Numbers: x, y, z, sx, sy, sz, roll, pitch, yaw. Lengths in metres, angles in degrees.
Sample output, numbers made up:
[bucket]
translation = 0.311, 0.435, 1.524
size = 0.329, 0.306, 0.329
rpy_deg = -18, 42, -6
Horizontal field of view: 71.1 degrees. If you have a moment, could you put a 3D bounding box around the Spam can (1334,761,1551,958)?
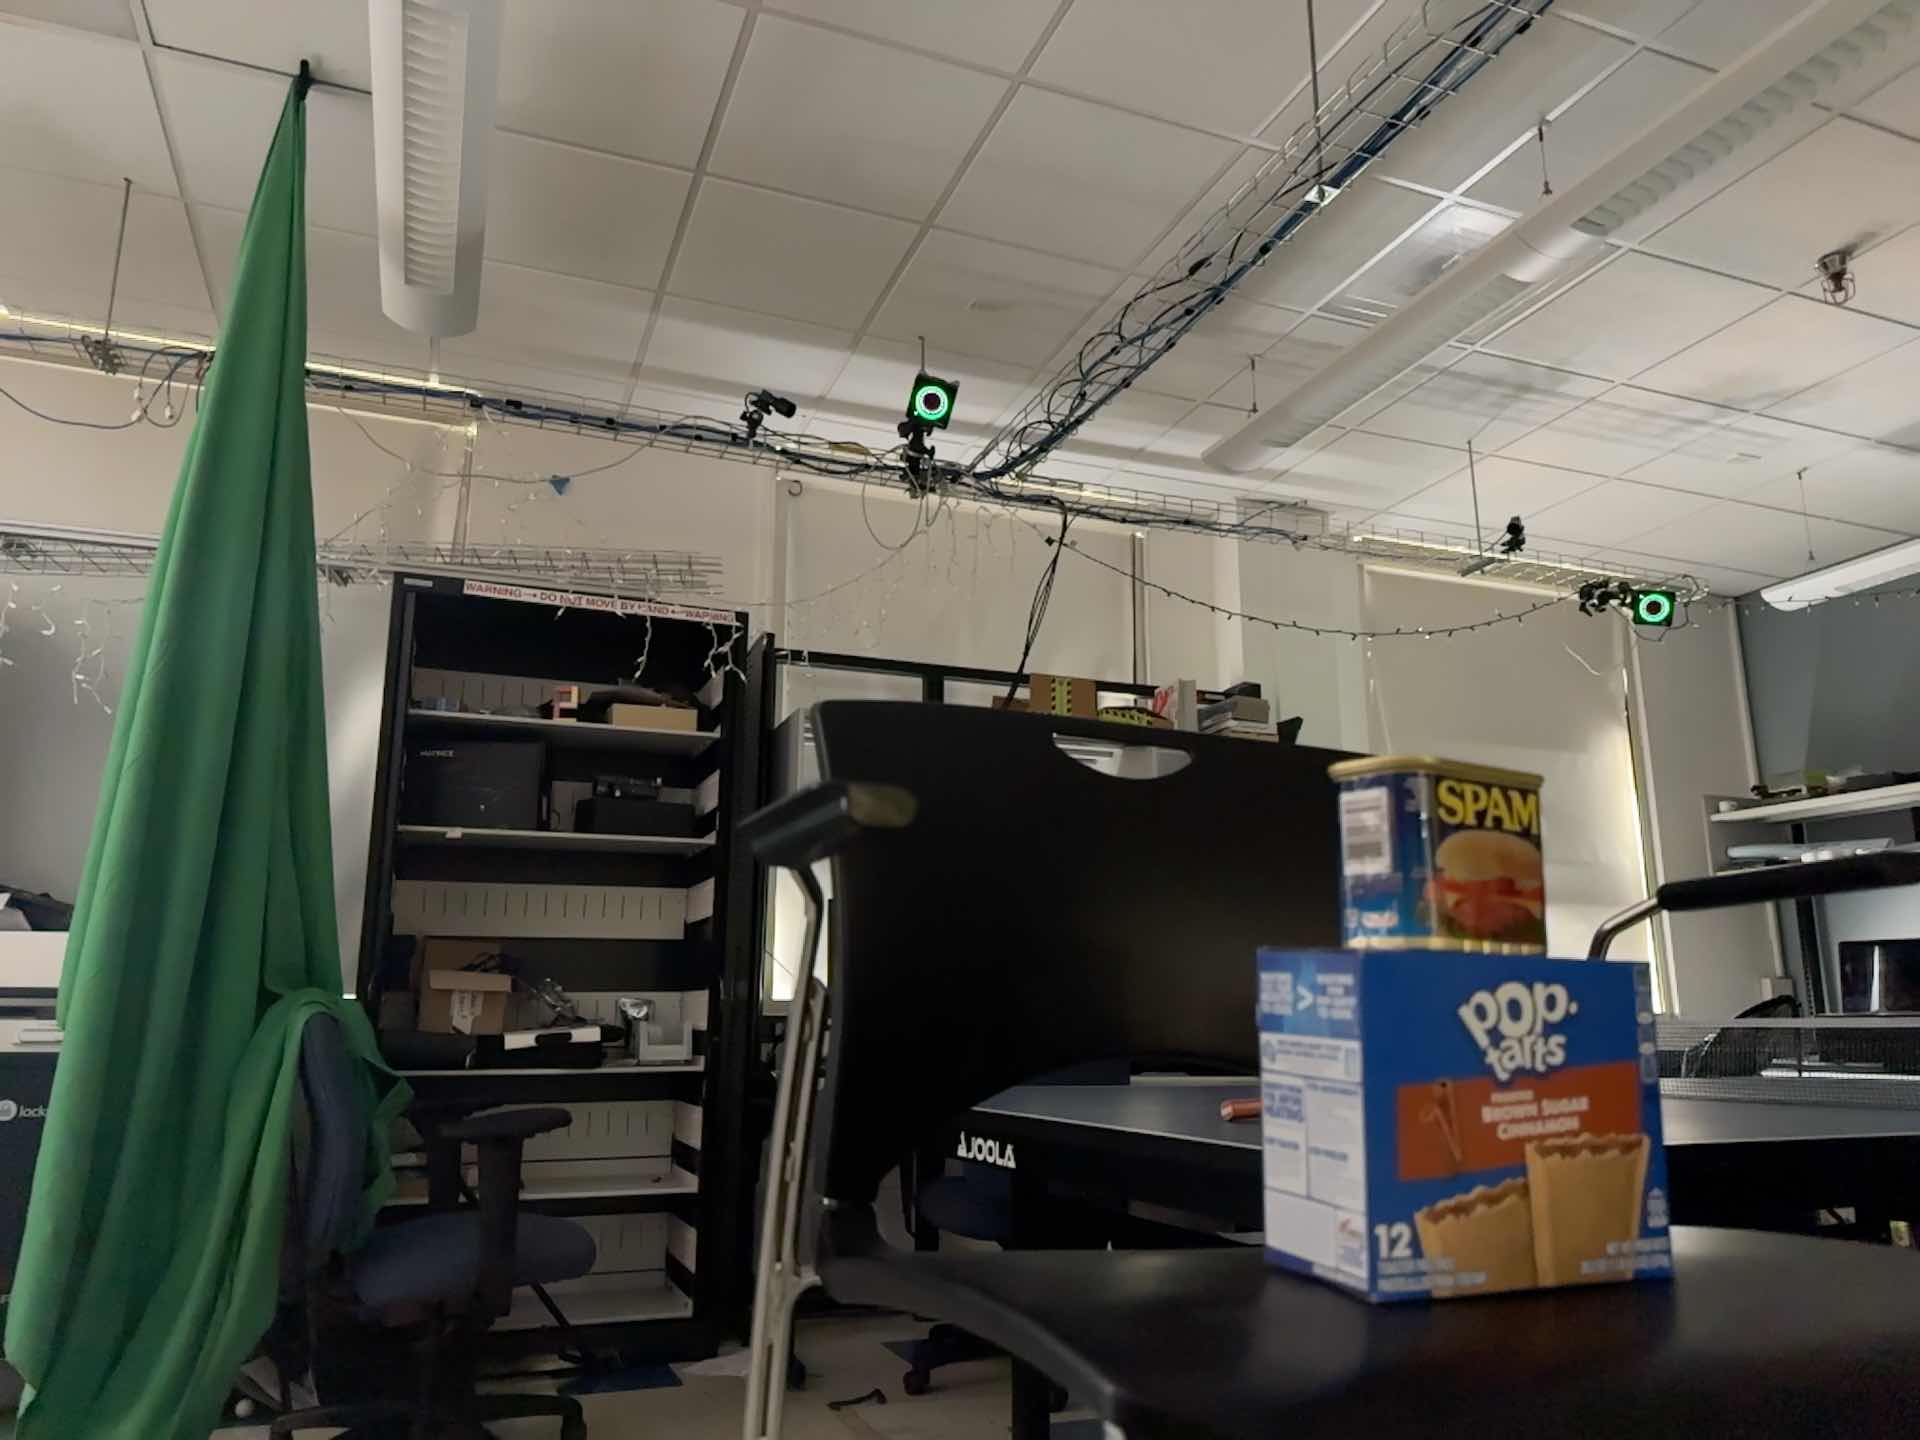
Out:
[Spam can]
translation = 0.226, 0.067, 0.628
size = 0.100, 0.083, 0.056
rpy_deg = 7, -10, -27

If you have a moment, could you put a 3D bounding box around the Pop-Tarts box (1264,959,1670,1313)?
[Pop-Tarts box]
translation = 0.232, 0.182, 0.619
size = 0.161, 0.135, 0.075
rpy_deg = 5, -10, -24
